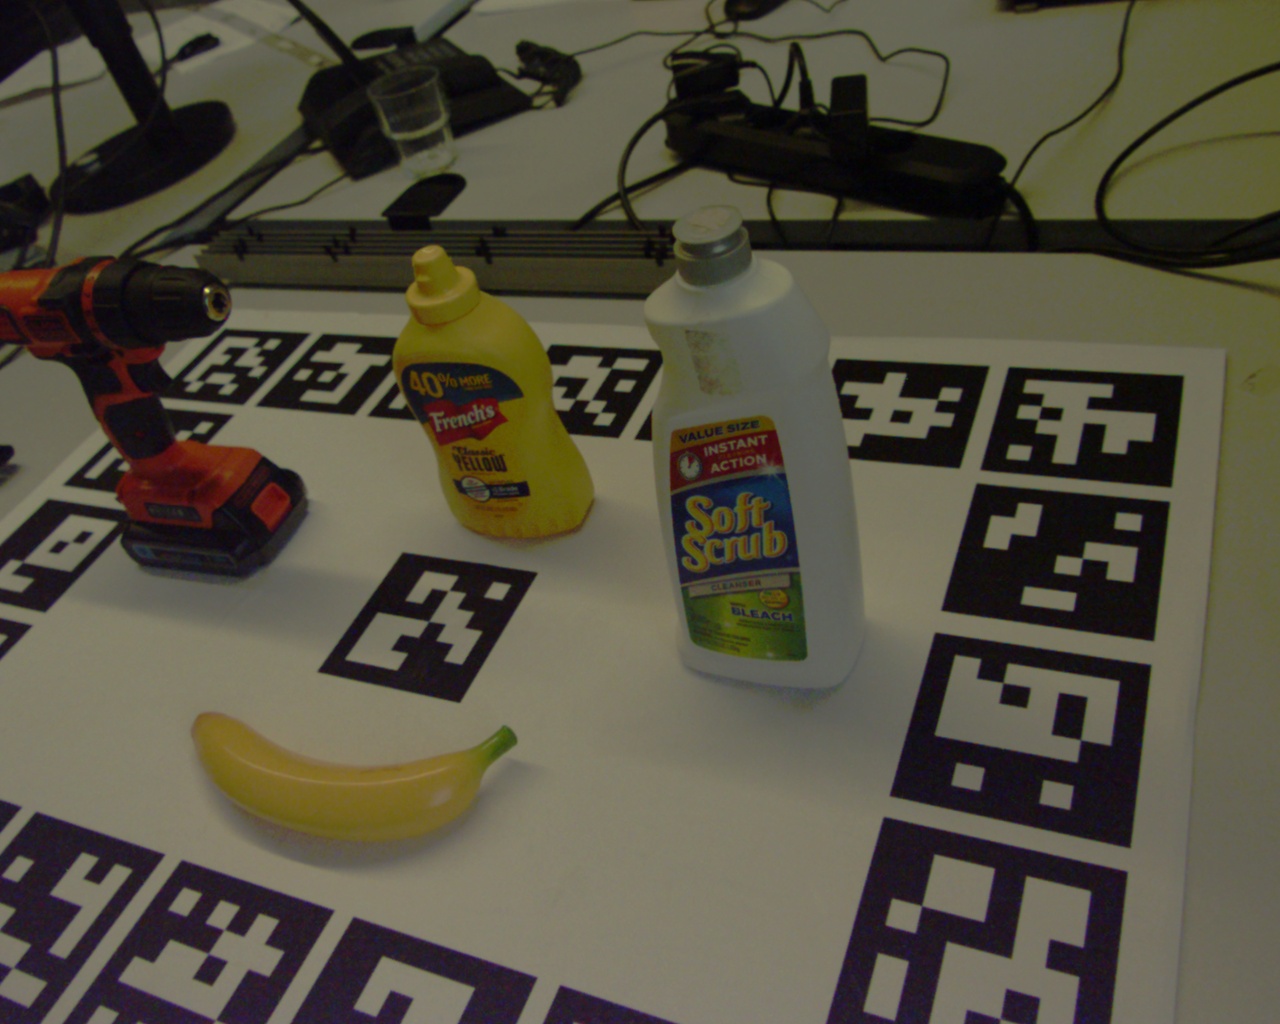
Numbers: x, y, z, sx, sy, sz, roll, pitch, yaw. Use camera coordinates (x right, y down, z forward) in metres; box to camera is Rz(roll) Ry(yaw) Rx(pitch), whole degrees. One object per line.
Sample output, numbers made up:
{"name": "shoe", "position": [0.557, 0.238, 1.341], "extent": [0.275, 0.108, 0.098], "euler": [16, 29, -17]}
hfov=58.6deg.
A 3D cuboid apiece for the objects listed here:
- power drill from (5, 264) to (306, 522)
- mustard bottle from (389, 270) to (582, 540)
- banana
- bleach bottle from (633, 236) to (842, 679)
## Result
{"name": "power drill", "position": [-0.298, -0.076, 0.745], "extent": [0.186, 0.185, 0.057], "euler": [0, 44, 24]}
{"name": "mustard bottle", "position": [-0.103, -0.066, 0.712], "extent": [0.097, 0.190, 0.058], "euler": [2, 45, 18]}
{"name": "banana", "position": [-0.170, 0.129, 0.625], "extent": [0.199, 0.038, 0.074], "euler": [1, 47, 24]}
{"name": "bleach bottle", "position": [0.040, -0.022, 0.568], "extent": [0.104, 0.249, 0.067], "euler": [14, 50, 30]}
